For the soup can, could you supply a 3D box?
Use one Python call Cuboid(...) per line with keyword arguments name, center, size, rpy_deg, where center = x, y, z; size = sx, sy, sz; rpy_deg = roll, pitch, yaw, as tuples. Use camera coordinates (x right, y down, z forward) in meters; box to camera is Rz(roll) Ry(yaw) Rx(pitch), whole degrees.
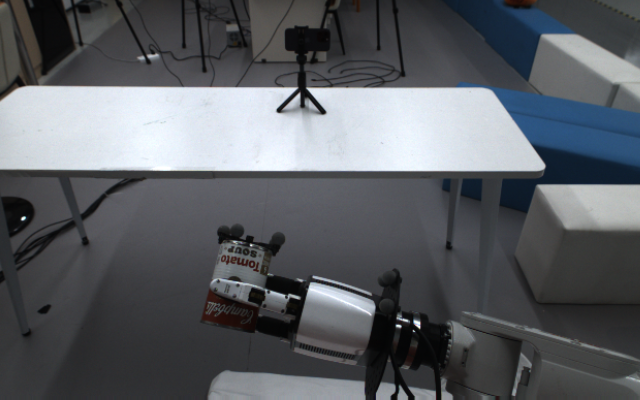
Cuboid(name="soup can", center=(-0.099, 0.107, 0.597), size=(0.067, 0.067, 0.101), rpy_deg=(9, 74, 9))
